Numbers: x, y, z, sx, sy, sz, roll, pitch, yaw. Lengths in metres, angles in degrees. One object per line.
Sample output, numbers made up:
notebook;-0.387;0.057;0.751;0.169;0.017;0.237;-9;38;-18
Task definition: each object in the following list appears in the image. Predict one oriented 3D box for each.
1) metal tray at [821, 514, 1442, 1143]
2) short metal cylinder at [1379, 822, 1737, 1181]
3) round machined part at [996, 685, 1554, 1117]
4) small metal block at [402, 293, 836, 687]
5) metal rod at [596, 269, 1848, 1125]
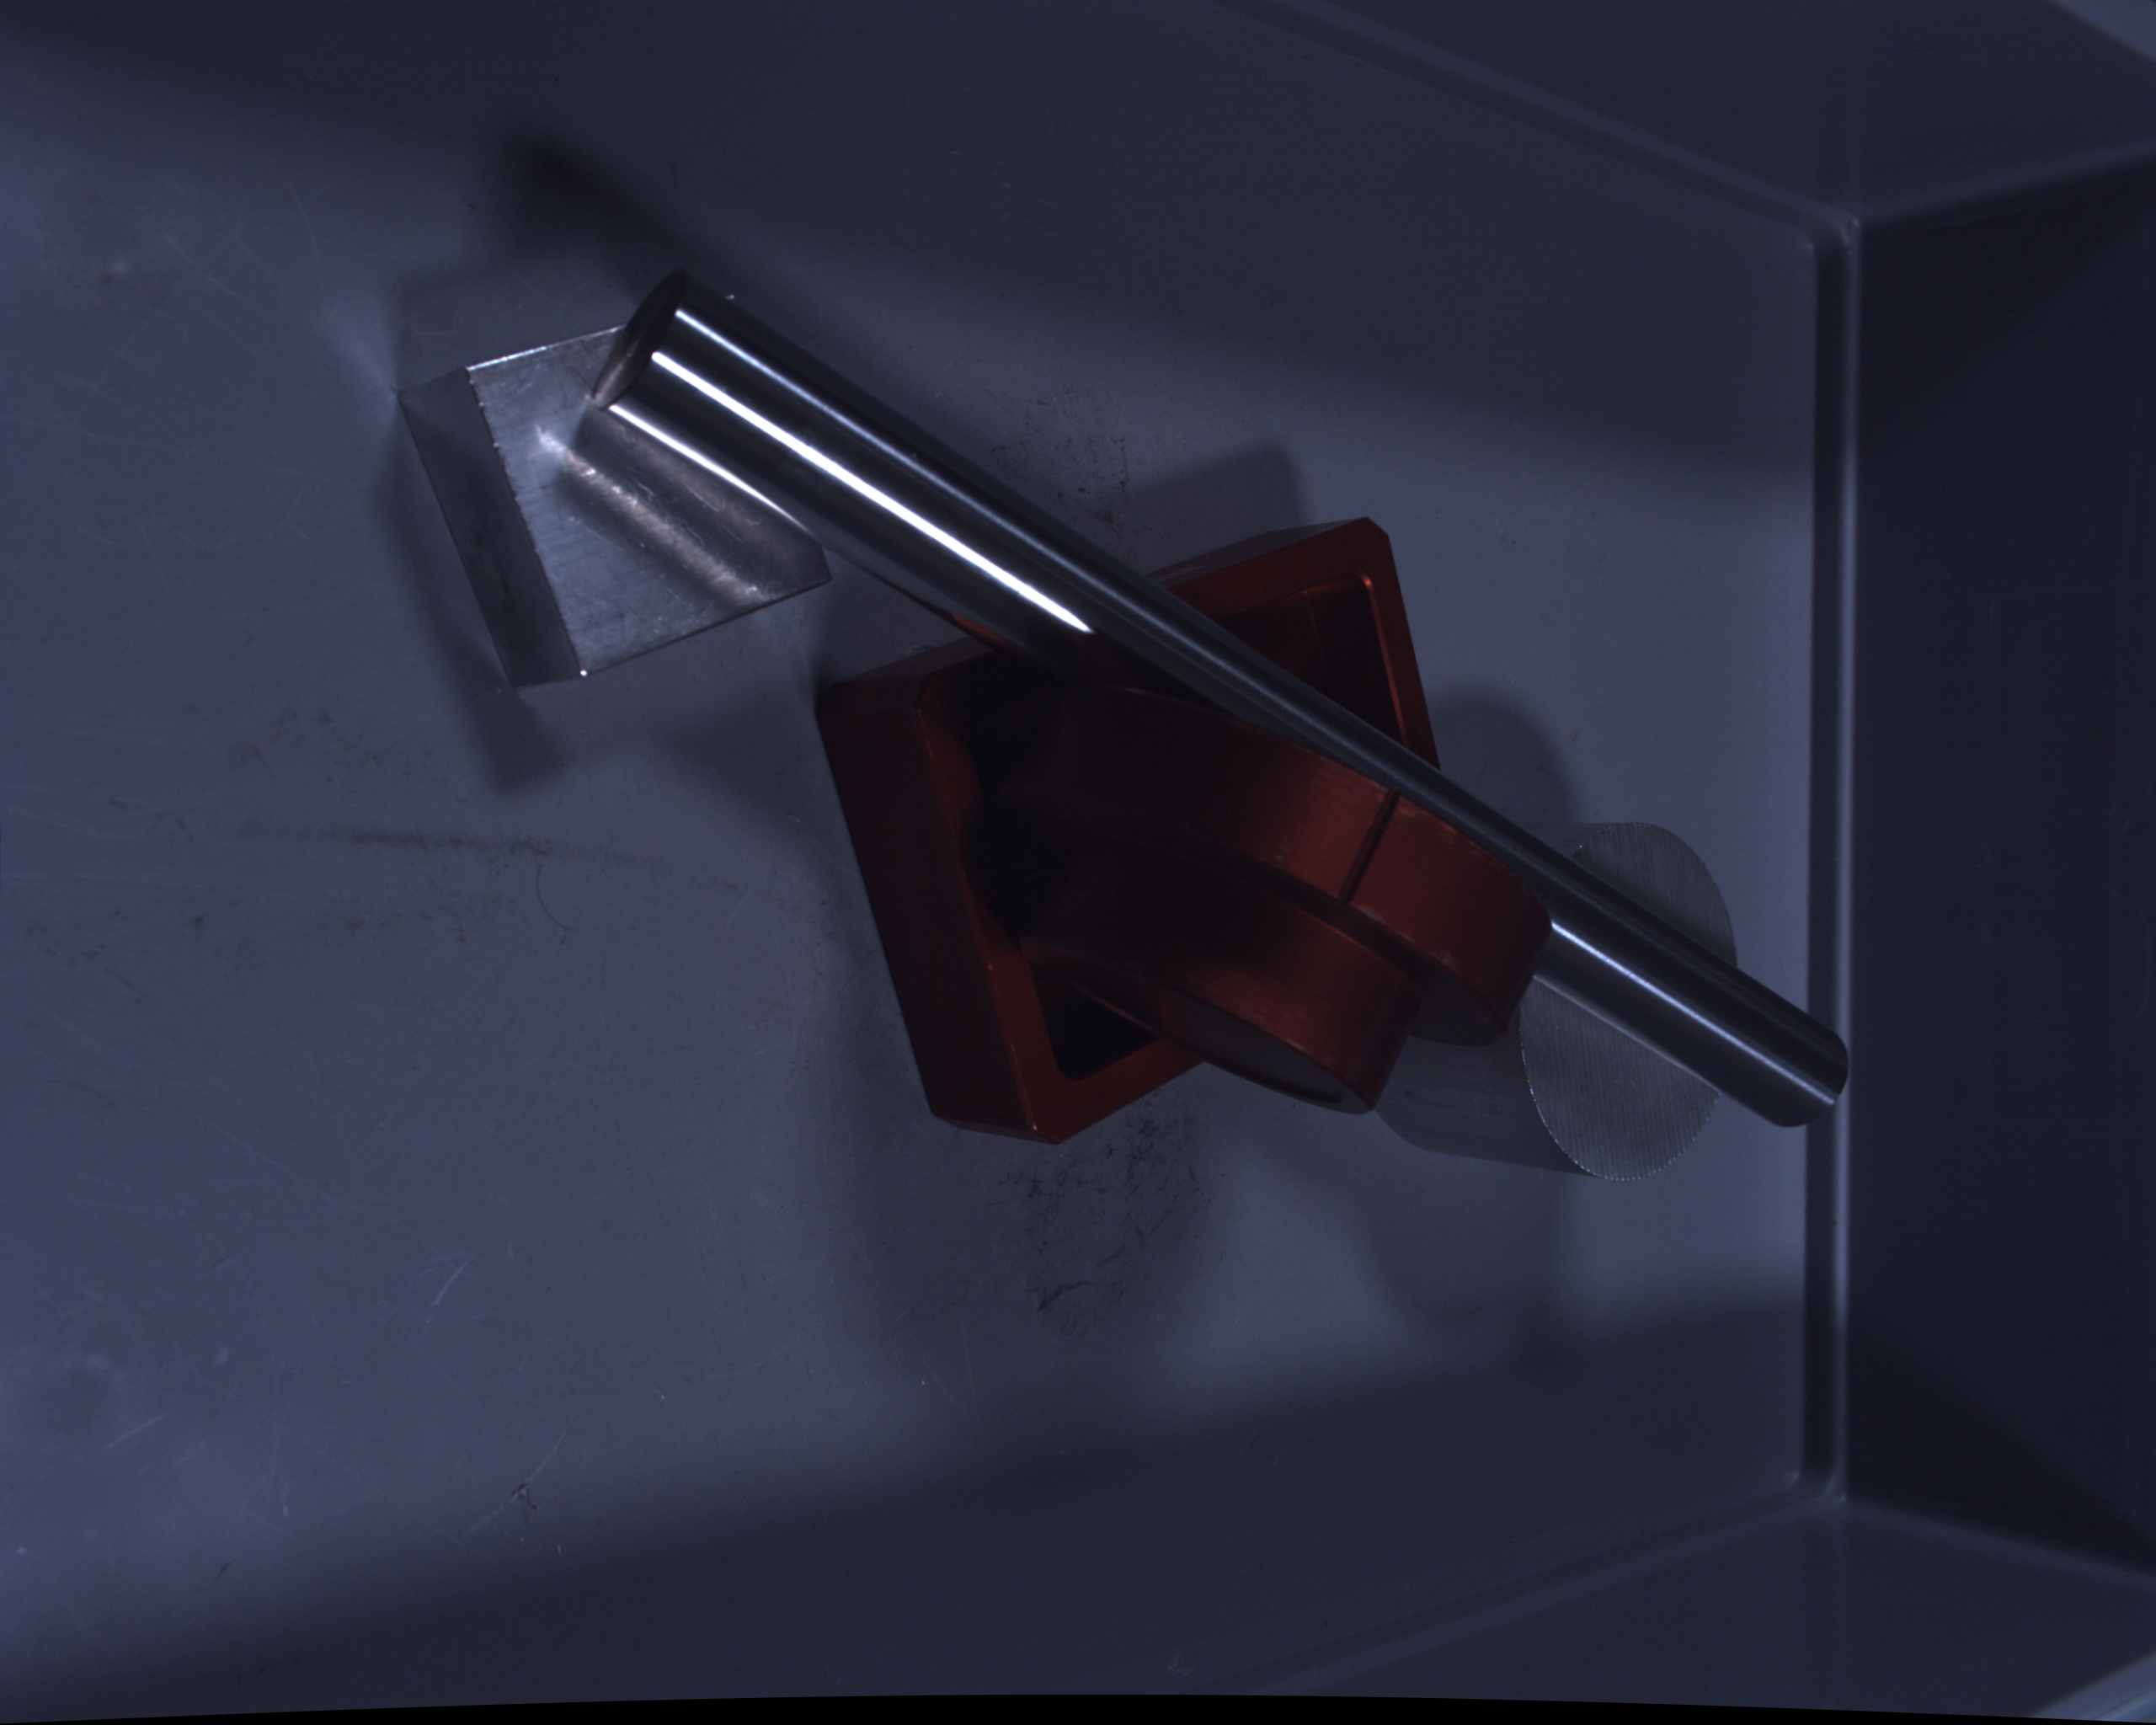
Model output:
metal tray;0.019;-0.011;0.419;0.131;0.030;0.089;-25;106;-38
short metal cylinder;0.108;0.031;0.482;0.081;0.050;0.079;0;90;-40
round machined part;0.029;0.011;0.367;0.098;0.098;0.042;34;77;-35
small metal block;-0.074;-0.061;0.343;0.050;0.025;0.050;-28;108;-37
metal rod;0.048;-0.016;0.393;0.301;0.025;0.025;29;72;-30
